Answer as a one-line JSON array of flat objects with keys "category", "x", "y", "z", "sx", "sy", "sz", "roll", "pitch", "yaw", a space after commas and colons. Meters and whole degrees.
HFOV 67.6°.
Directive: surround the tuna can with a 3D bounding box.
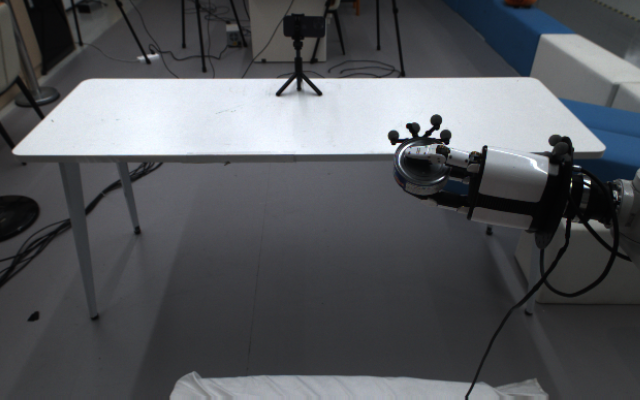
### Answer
[{"category": "tuna can", "x": 0.152, "y": -0.051, "z": 0.719, "sx": 0.085, "sy": 0.034, "sz": 0.085, "roll": -2, "pitch": 58, "yaw": 3}]
